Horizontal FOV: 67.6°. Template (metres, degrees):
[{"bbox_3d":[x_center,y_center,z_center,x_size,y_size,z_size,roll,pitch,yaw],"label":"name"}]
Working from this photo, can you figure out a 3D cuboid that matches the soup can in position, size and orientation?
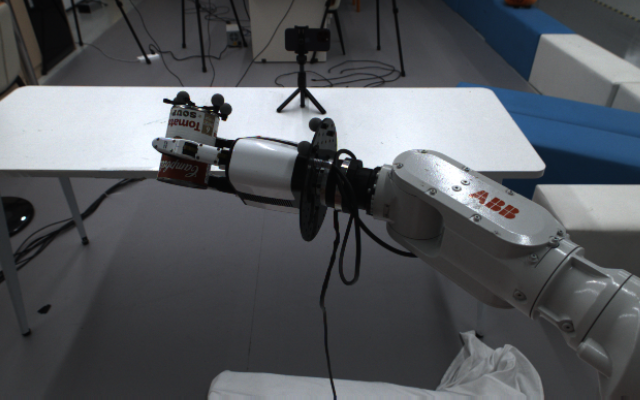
[{"bbox_3d":[-0.178,-0.069,0.660,0.067,0.101,0.067,9,-5,1],"label":"soup can"}]
